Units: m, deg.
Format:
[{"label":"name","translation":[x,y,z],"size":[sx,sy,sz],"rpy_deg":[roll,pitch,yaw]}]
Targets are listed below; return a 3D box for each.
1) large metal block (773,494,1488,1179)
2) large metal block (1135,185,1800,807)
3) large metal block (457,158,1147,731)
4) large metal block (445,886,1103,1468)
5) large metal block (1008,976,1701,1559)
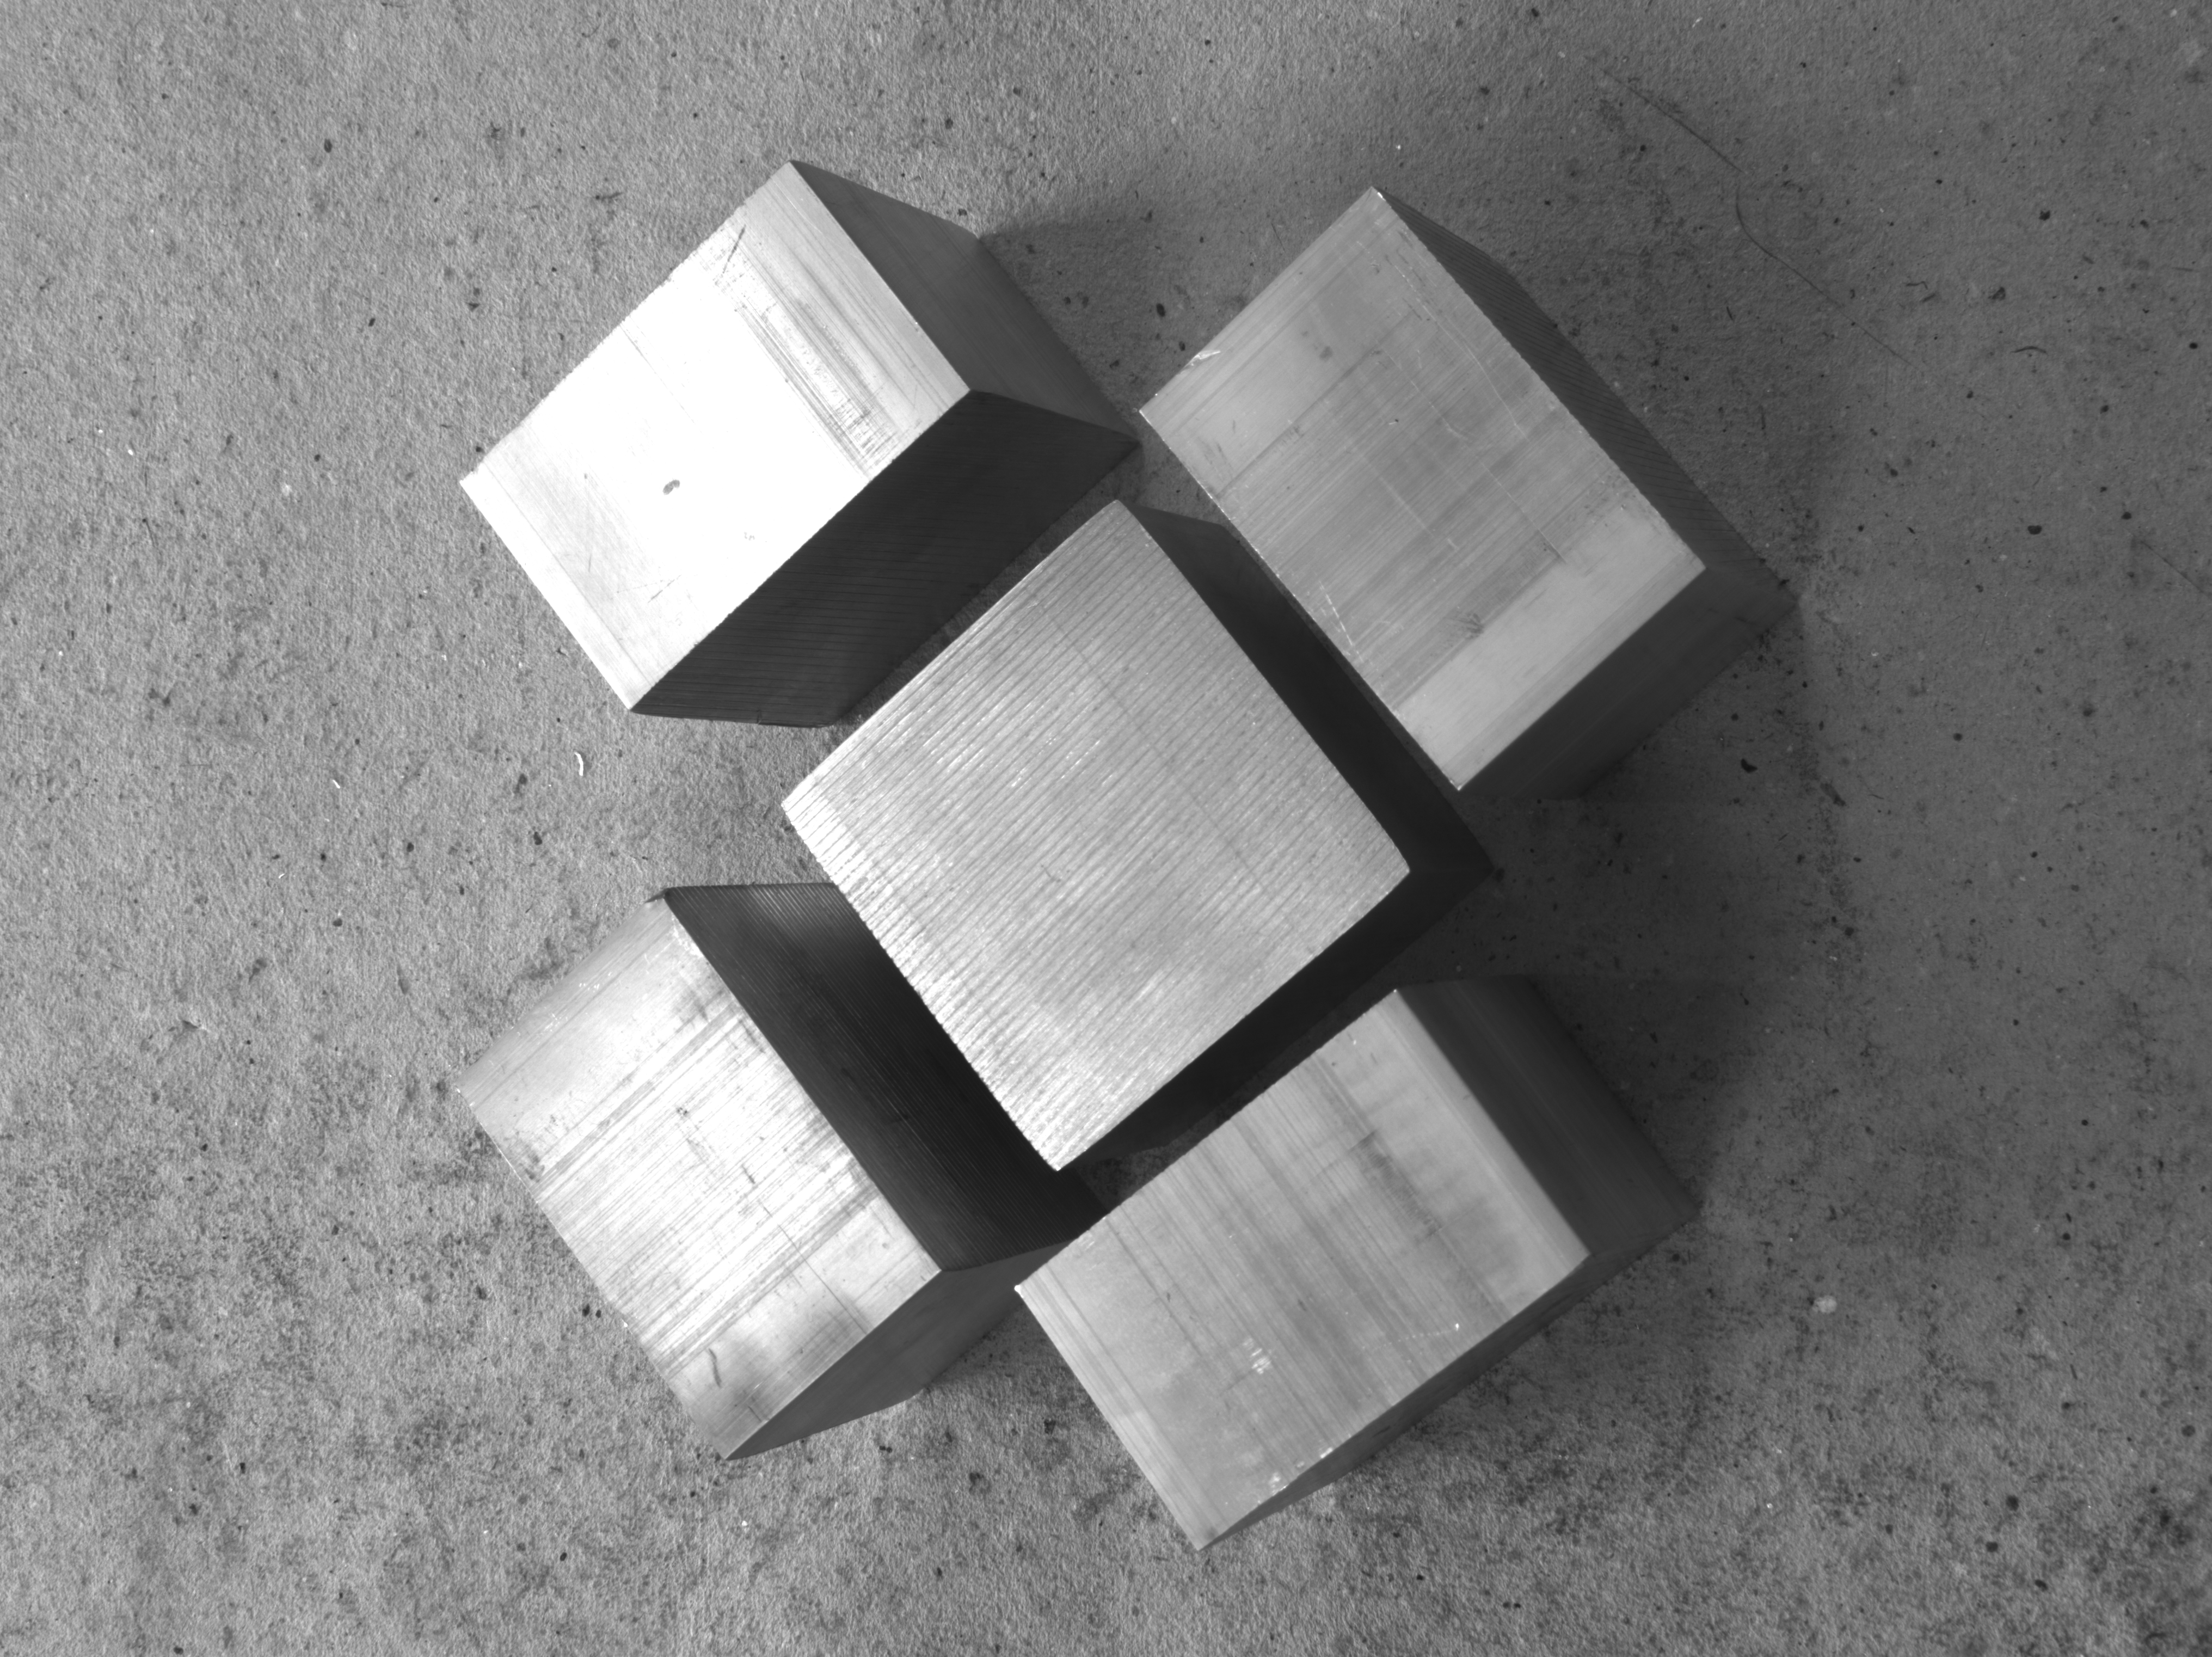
[{"label":"large metal block","translation":[0.005,0.002,0.629],"size":[0.080,0.050,0.080],"rpy_deg":[-41,77,15]},{"label":"large metal block","translation":[0.060,-0.051,0.595],"size":[0.050,0.080,0.080],"rpy_deg":[-42,76,14]},{"label":"large metal block","translation":[-0.050,-0.063,0.637],"size":[0.080,0.080,0.050],"rpy_deg":[-41,76,15]},{"label":"large metal block","translation":[-0.054,0.057,0.637],"size":[0.050,0.080,0.080],"rpy_deg":[-42,77,15]},{"label":"large metal block","translation":[0.043,0.069,0.601],"size":[0.080,0.080,0.050],"rpy_deg":[-40,76,16]}]
